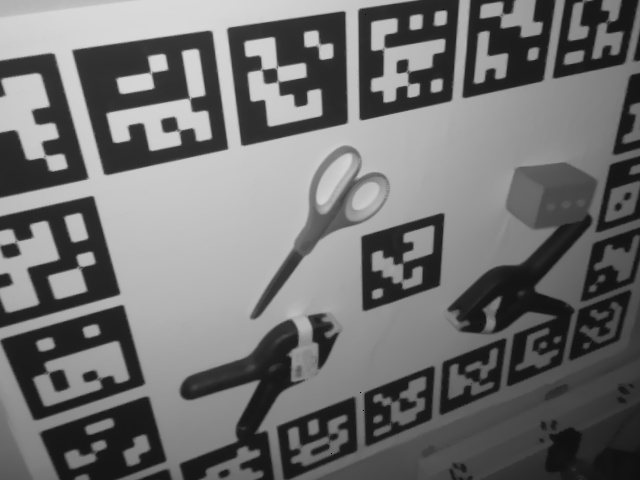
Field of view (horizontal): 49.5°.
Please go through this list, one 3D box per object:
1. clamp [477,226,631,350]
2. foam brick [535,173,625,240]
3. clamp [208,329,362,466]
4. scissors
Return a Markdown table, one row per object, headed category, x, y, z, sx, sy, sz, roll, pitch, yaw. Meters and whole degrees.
| category | x | y | z | sx | sy | sz | roll | pitch | yaw |
| --- | --- | --- | --- | --- | --- | --- | --- | --- | --- |
| clamp | 0.283 | 0.080 | 0.840 | 0.205 | 0.036 | 0.164 | -19 | 126 | -15 |
| foam brick | 0.290 | -0.039 | 0.774 | 0.079 | 0.051 | 0.052 | -11 | 119 | -26 |
| clamp | -0.021 | 0.156 | 0.735 | 0.165 | 0.036 | 0.122 | -40 | 119 | -3 |
| scissors | 0.024 | 0.014 | 0.685 | 0.088 | 0.016 | 0.201 | 27 | 103 | -27 |
